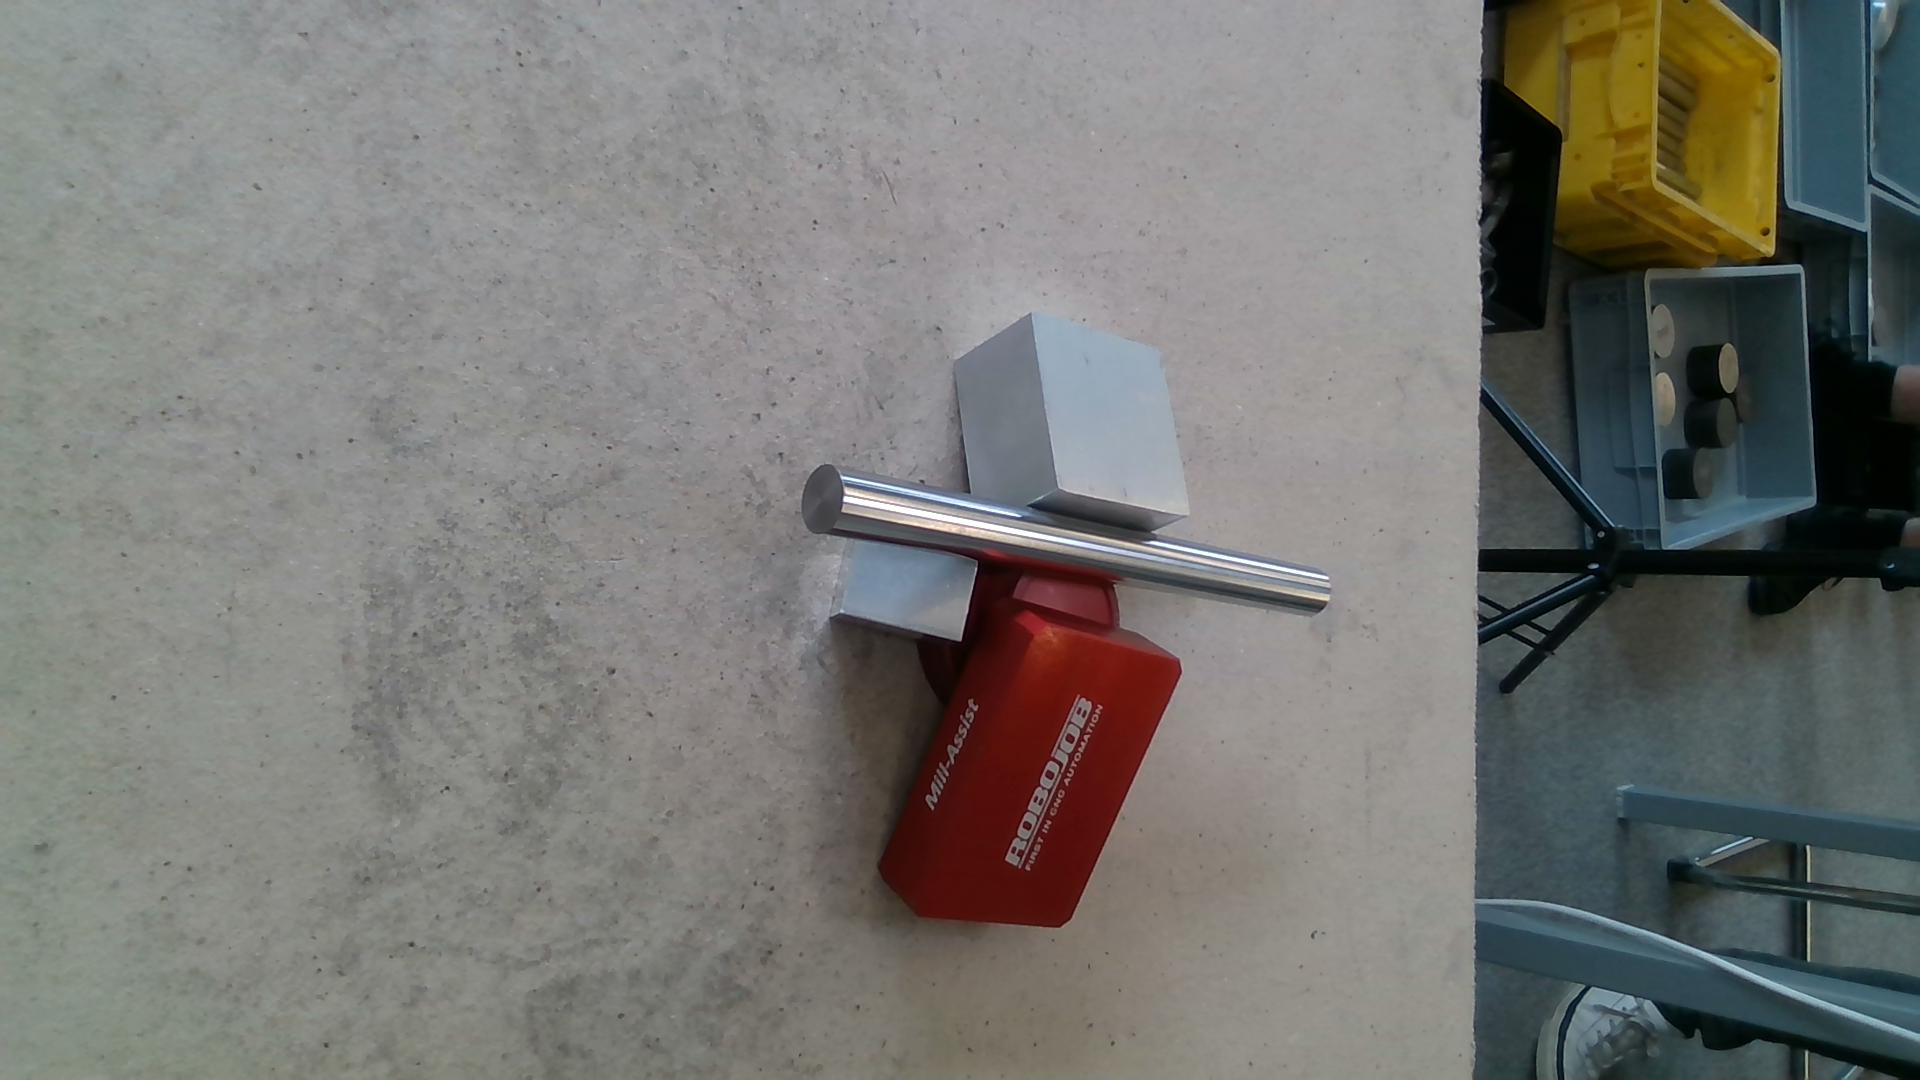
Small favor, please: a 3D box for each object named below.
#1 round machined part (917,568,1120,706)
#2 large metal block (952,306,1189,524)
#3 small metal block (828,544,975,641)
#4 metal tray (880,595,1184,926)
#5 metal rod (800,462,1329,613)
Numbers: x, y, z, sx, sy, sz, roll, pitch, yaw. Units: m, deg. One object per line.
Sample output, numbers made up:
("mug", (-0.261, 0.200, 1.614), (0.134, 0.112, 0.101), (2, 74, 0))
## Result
("round machined part", (0.031, 0.036, 0.599), (0.098, 0.042, 0.098), (0, 90, -40))
("large metal block", (0.047, -0.045, 0.593), (0.080, 0.050, 0.080), (9, 66, -40))
("small metal block", (-0.021, 0.011, 0.553), (0.050, 0.025, 0.050), (14, 79, -14))
("metal tray", (0.031, 0.095, 0.578), (0.090, 0.030, 0.130), (17, 100, -38))
("metal rod", (0.062, 0.005, 0.581), (0.300, 0.025, 0.025), (10, 83, -42))
